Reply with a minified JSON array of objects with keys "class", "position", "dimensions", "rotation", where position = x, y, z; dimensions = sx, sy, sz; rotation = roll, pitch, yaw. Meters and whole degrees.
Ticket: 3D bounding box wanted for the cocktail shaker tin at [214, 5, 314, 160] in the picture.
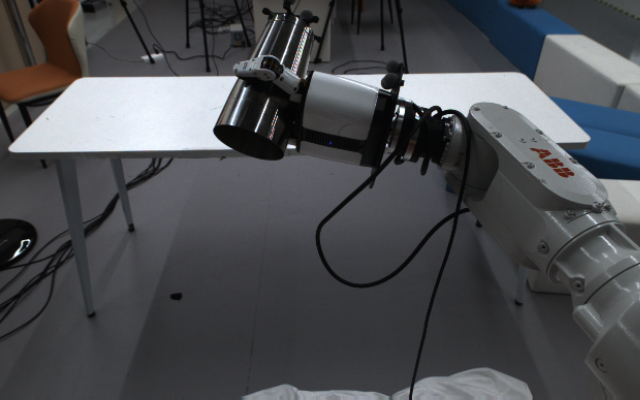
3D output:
[{"class":"cocktail shaker tin","position":[-0.063,-0.146,0.617],"dimensions":[0.093,0.093,0.170],"rotation":[13,74,16]}]
